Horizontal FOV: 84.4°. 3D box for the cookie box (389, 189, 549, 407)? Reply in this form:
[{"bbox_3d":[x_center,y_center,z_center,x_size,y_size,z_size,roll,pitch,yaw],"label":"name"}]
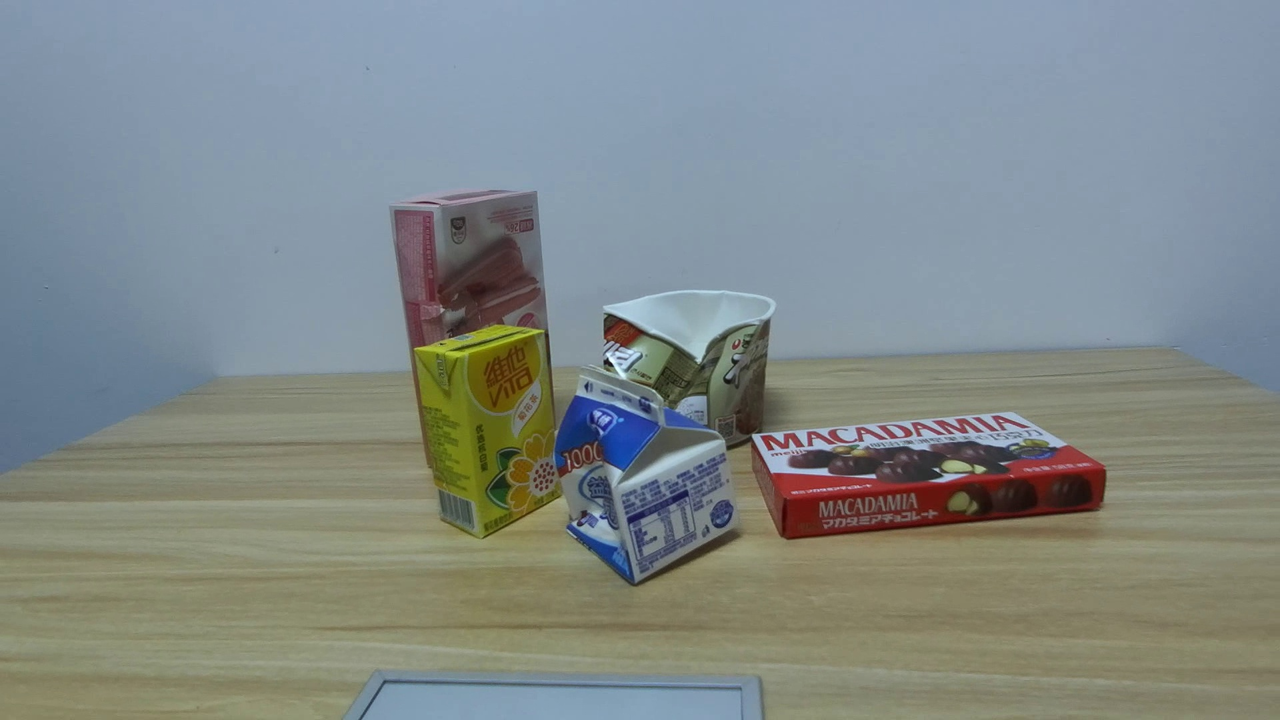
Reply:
[{"bbox_3d":[-0.113,-0.023,0.498,0.048,0.187,0.105,7,20,29],"label":"cookie box"}]

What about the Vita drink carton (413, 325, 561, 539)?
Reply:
[{"bbox_3d":[-0.088,0.039,0.422,0.043,0.109,0.067,9,20,38],"label":"Vita drink carton"}]

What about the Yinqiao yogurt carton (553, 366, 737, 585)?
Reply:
[{"bbox_3d":[-0.001,0.053,0.378,0.071,0.094,0.077,-19,21,-31],"label":"Yinqiao yogurt carton"}]
